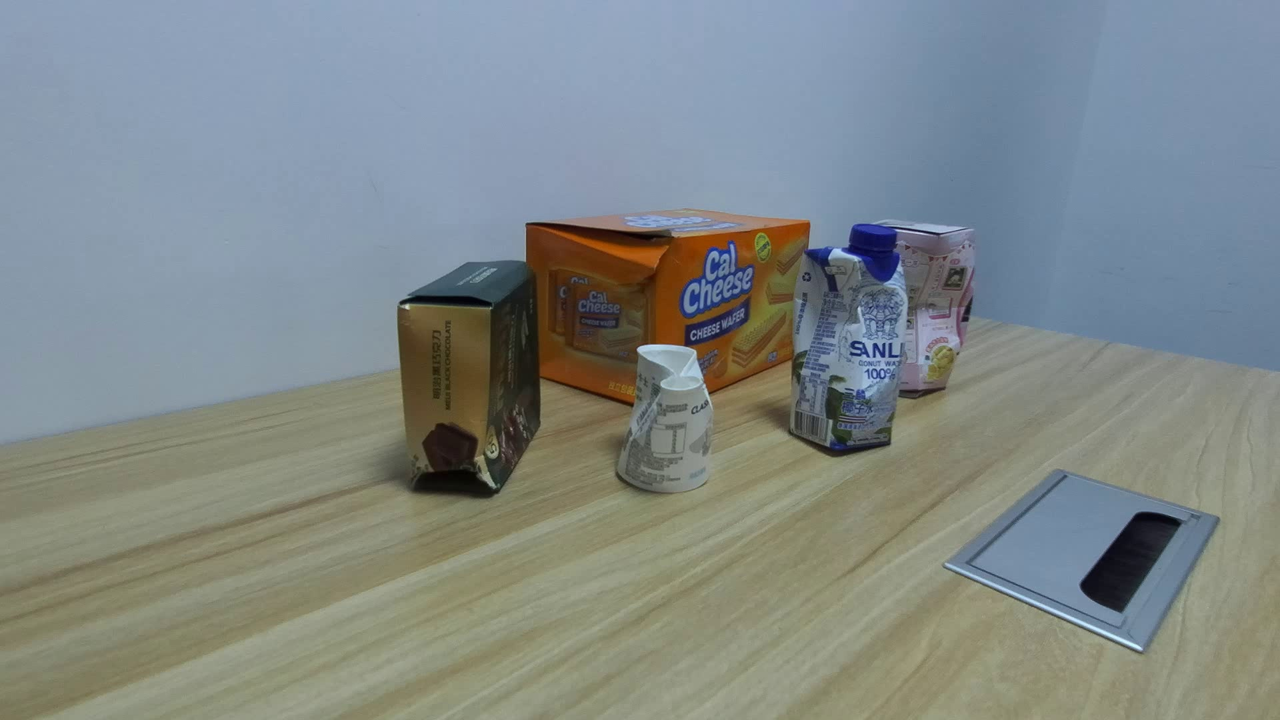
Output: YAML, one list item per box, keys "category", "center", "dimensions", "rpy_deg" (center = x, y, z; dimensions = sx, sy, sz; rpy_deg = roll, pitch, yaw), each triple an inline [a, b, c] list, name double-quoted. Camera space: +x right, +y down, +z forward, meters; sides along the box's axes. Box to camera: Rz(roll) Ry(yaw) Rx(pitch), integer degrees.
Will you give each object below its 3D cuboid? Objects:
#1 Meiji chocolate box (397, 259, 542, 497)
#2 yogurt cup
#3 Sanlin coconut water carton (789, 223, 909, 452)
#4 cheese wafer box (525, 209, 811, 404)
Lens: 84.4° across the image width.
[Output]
- category: "Meiji chocolate box"
  center: [-0.098, 0.005, 0.426]
  dimensions: [0.058, 0.116, 0.122]
  rpy_deg: [4, 16, 4]
- category: "yogurt cup"
  center: [0.015, 0.033, 0.408]
  dimensions: [0.054, 0.071, 0.075]
  rpy_deg: [-12, 22, -33]
- category: "Sanlin coconut water carton"
  center: [0.139, -0.016, 0.470]
  dimensions: [0.057, 0.144, 0.068]
  rpy_deg: [-1, 7, -33]
- category: "cheese wafer box"
  center: [0.031, -0.059, 0.610]
  dimensions: [0.149, 0.137, 0.228]
  rpy_deg: [15, 21, 37]
